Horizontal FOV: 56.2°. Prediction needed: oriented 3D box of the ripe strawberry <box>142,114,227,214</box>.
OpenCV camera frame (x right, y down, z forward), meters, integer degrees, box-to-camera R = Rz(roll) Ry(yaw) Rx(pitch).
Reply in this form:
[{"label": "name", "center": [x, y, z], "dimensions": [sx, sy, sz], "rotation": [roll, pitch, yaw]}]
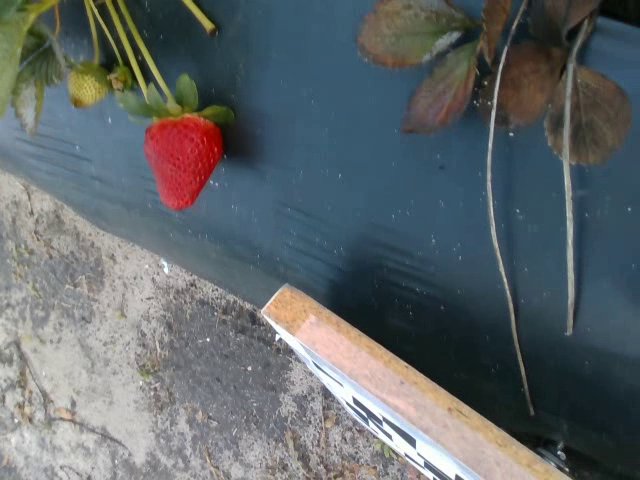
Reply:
[{"label": "ripe strawberry", "center": [-0.069, -0.038, 0.293], "dimensions": [0.042, 0.055, 0.045], "rotation": [15, -3, -18]}]
